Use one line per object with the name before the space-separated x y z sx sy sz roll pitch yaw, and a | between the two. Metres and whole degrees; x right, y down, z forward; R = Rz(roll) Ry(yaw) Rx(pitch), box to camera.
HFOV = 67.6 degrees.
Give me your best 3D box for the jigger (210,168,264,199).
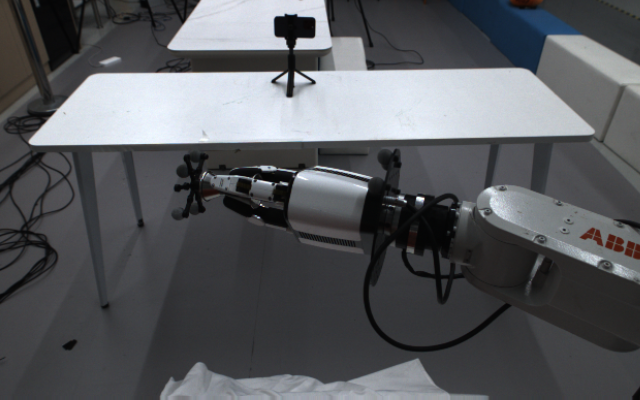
jigger | -0.106 -0.017 0.601 0.071 0.043 0.043 6 35 14
